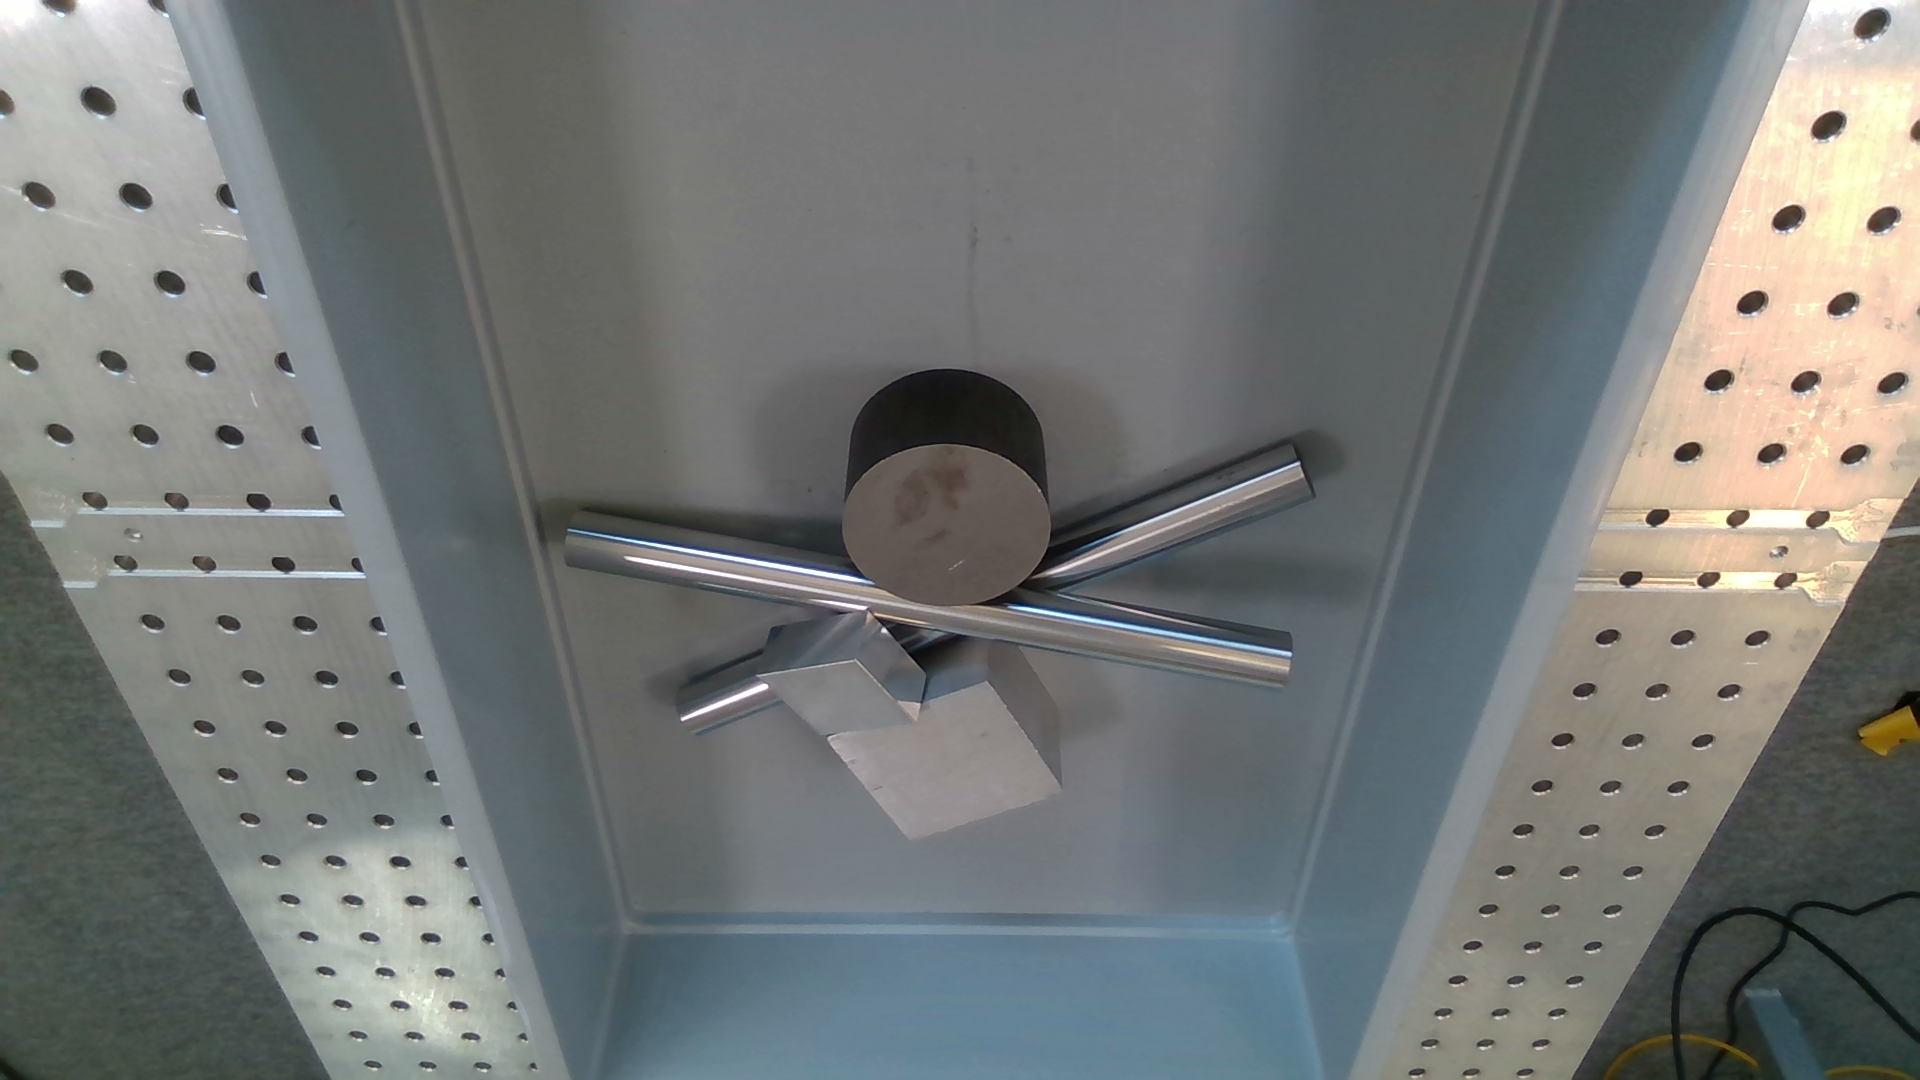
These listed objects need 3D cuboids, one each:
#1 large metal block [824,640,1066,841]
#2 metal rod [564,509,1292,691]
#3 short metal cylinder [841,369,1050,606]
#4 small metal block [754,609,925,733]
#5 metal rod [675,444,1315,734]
[{"bbox_3d":[-0.006,0.085,0.633,0.080,0.050,0.080,-22,127,17],"label":"large metal block"},{"bbox_3d":[-0.014,0.025,0.573,0.300,0.025,0.025,10,130,2],"label":"metal rod"},{"bbox_3d":[-0.005,-0.020,0.545,0.080,0.050,0.080,0,131,0],"label":"short metal cylinder"},{"bbox_3d":[-0.050,0.057,0.585,0.050,0.025,0.050,-11,139,28],"label":"small metal block"},{"bbox_3d":[0.006,0.026,0.600,0.300,0.025,0.025,-22,127,18],"label":"metal rod"}]
